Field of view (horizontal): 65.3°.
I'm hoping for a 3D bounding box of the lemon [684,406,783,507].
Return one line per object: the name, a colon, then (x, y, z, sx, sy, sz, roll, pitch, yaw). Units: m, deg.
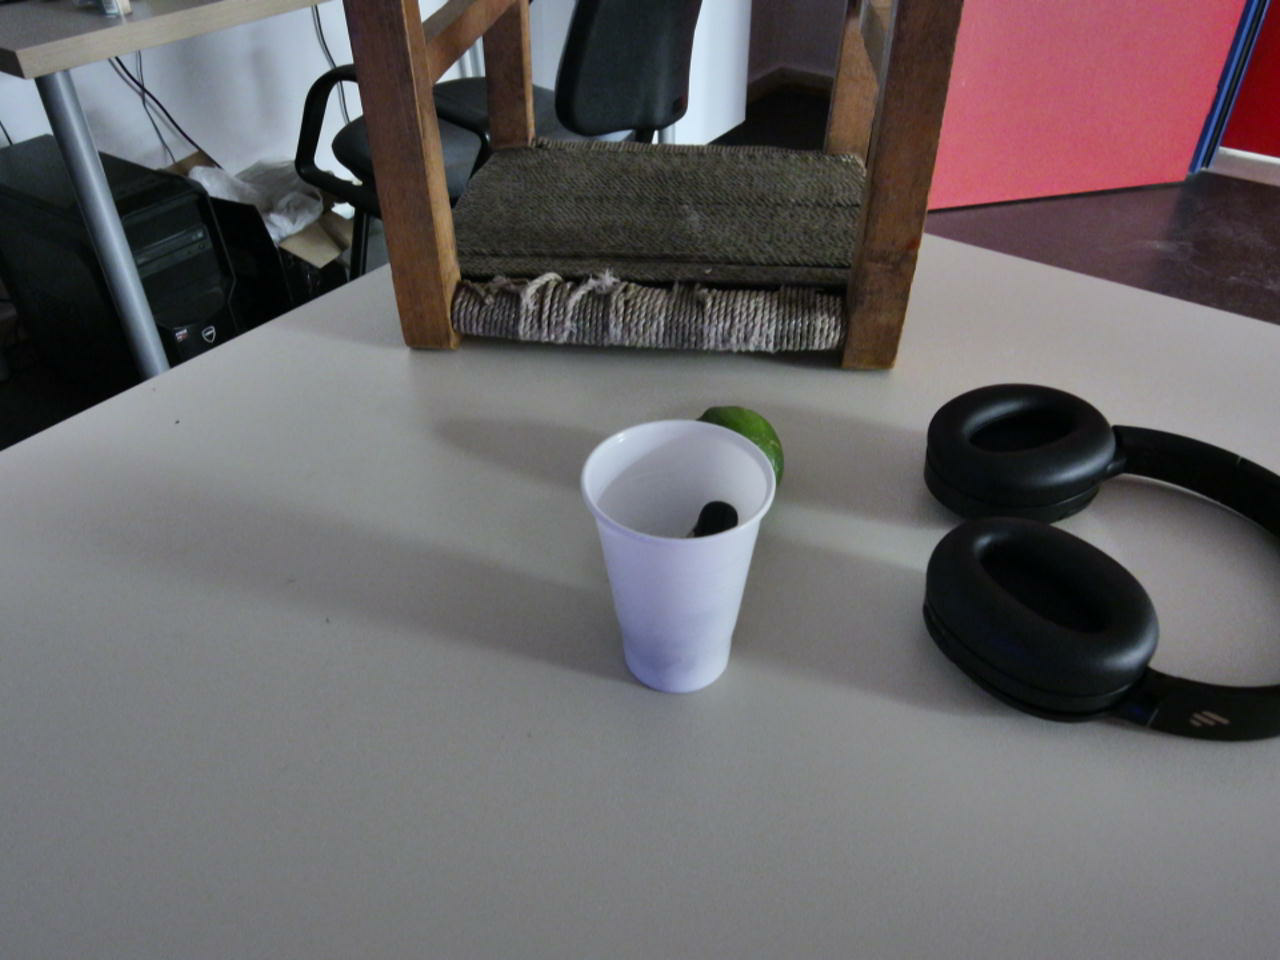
lemon: (0.051, -0.014, 0.542, 0.057, 0.051, 0.054, 22, 43, 27)
